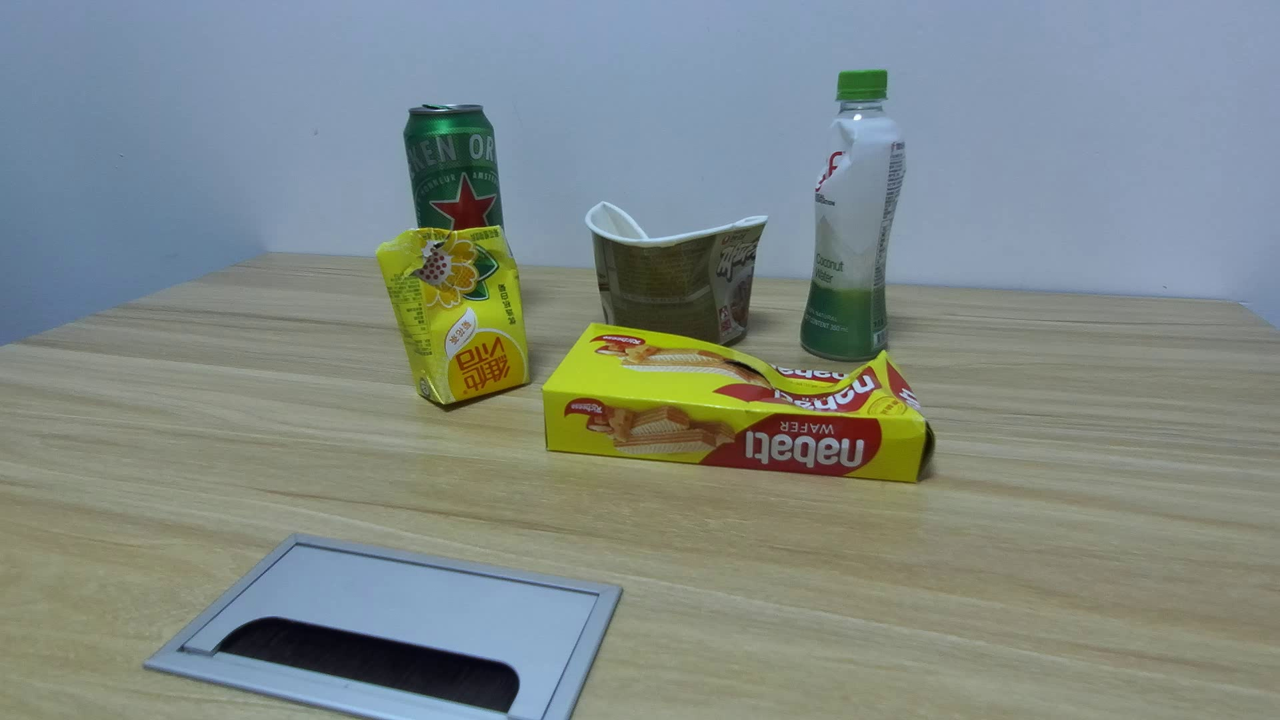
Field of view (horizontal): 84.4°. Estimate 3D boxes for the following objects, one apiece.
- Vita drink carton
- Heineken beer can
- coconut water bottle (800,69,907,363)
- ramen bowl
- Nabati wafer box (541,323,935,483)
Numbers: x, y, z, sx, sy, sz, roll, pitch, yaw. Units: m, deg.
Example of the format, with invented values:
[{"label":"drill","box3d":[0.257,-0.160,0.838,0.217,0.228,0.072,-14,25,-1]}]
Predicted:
[{"label":"Vita drink carton","box3d":[-0.118,-0.032,0.458,0.087,0.108,0.042,-16,15,-35]},{"label":"Heineken beer can","box3d":[-0.140,-0.109,0.555,0.067,0.169,0.067,-2,22,1]},{"label":"coconut water bottle","box3d":[0.146,-0.096,0.484,0.069,0.186,0.069,-1,19,1]},{"label":"ramen bowl","box3d":[0.020,-0.065,0.535,0.137,0.098,0.137,-2,22,1]},{"label":"Nabati wafer box","box3d":[0.057,0.020,0.408,0.204,0.042,0.107,5,26,12]}]
